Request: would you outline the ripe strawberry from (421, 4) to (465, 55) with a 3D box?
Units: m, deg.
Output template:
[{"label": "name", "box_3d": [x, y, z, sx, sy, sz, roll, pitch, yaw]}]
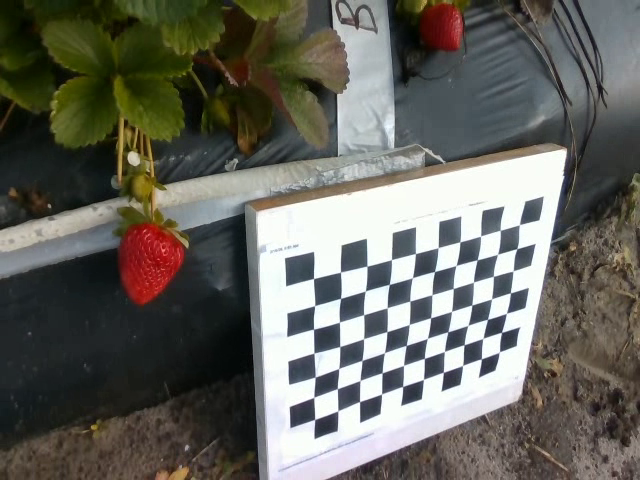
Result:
[{"label": "ripe strawberry", "box_3d": [0.091, -0.151, 0.437, 0.037, 0.048, 0.031, 1, -31, -30]}]

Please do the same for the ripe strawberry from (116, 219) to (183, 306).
[{"label": "ripe strawberry", "box_3d": [-0.099, 0.014, 0.351, 0.047, 0.053, 0.030, 30, -19, -38]}]
